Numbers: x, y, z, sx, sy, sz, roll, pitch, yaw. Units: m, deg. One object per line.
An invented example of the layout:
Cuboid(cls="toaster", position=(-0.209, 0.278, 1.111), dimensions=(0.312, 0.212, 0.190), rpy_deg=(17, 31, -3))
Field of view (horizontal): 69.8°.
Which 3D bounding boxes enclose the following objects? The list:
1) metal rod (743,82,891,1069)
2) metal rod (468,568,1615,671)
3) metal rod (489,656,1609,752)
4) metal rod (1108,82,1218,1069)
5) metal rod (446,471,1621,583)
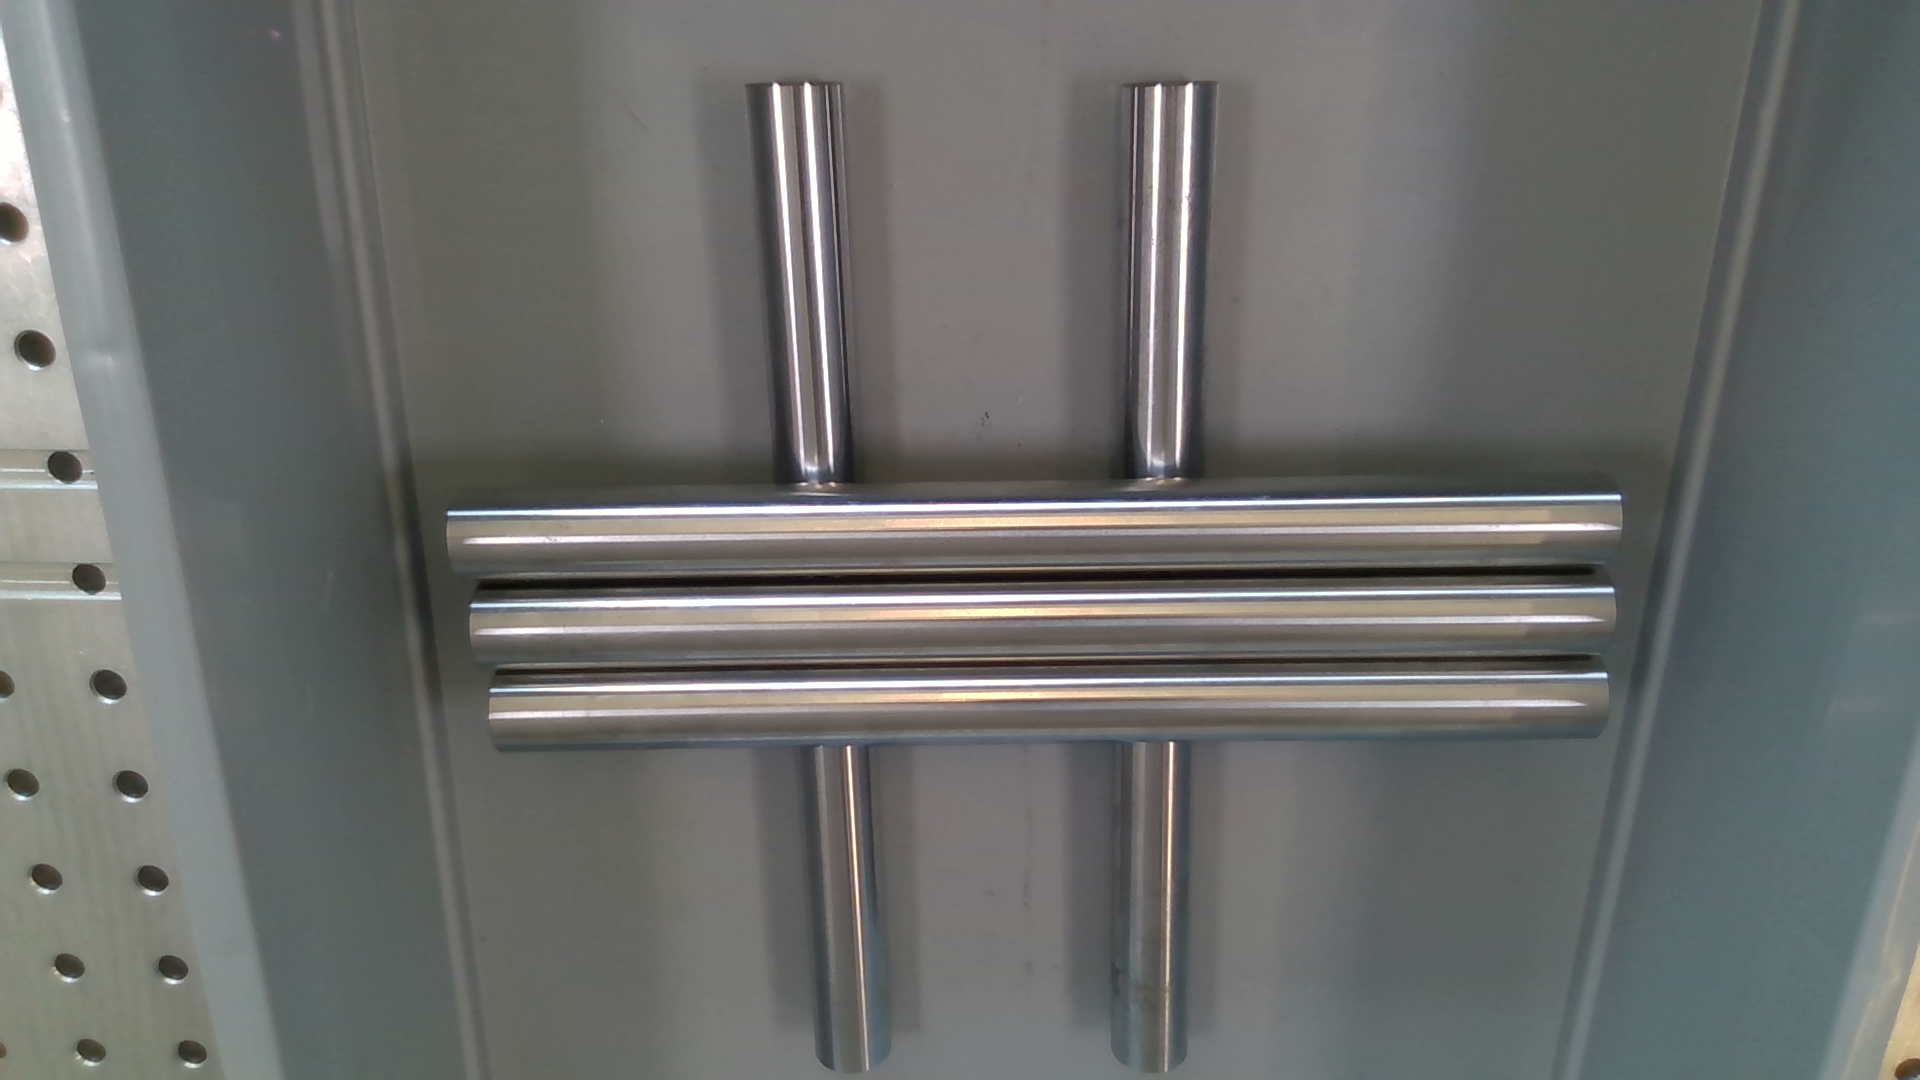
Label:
Cuboid(cls="metal rod", position=(-0.039, 0.025, 0.402), dimensions=(0.025, 0.025, 0.301), rpy_deg=(-1, 110, 0))
Cuboid(cls="metal rod", position=(0.021, 0.021, 0.373), dimensions=(0.300, 0.025, 0.025), rpy_deg=(-1, 110, 0))
Cuboid(cls="metal rod", position=(0.024, 0.044, 0.381), dimensions=(0.300, 0.025, 0.025), rpy_deg=(-1, 110, 0))
Cuboid(cls="metal rod", position=(0.057, 0.025, 0.402), dimensions=(0.025, 0.025, 0.301), rpy_deg=(-1, 110, 1))
Cuboid(cls="metal rod", position=(0.018, -0.003, 0.364), dimensions=(0.300, 0.025, 0.025), rpy_deg=(-1, 110, 0))
